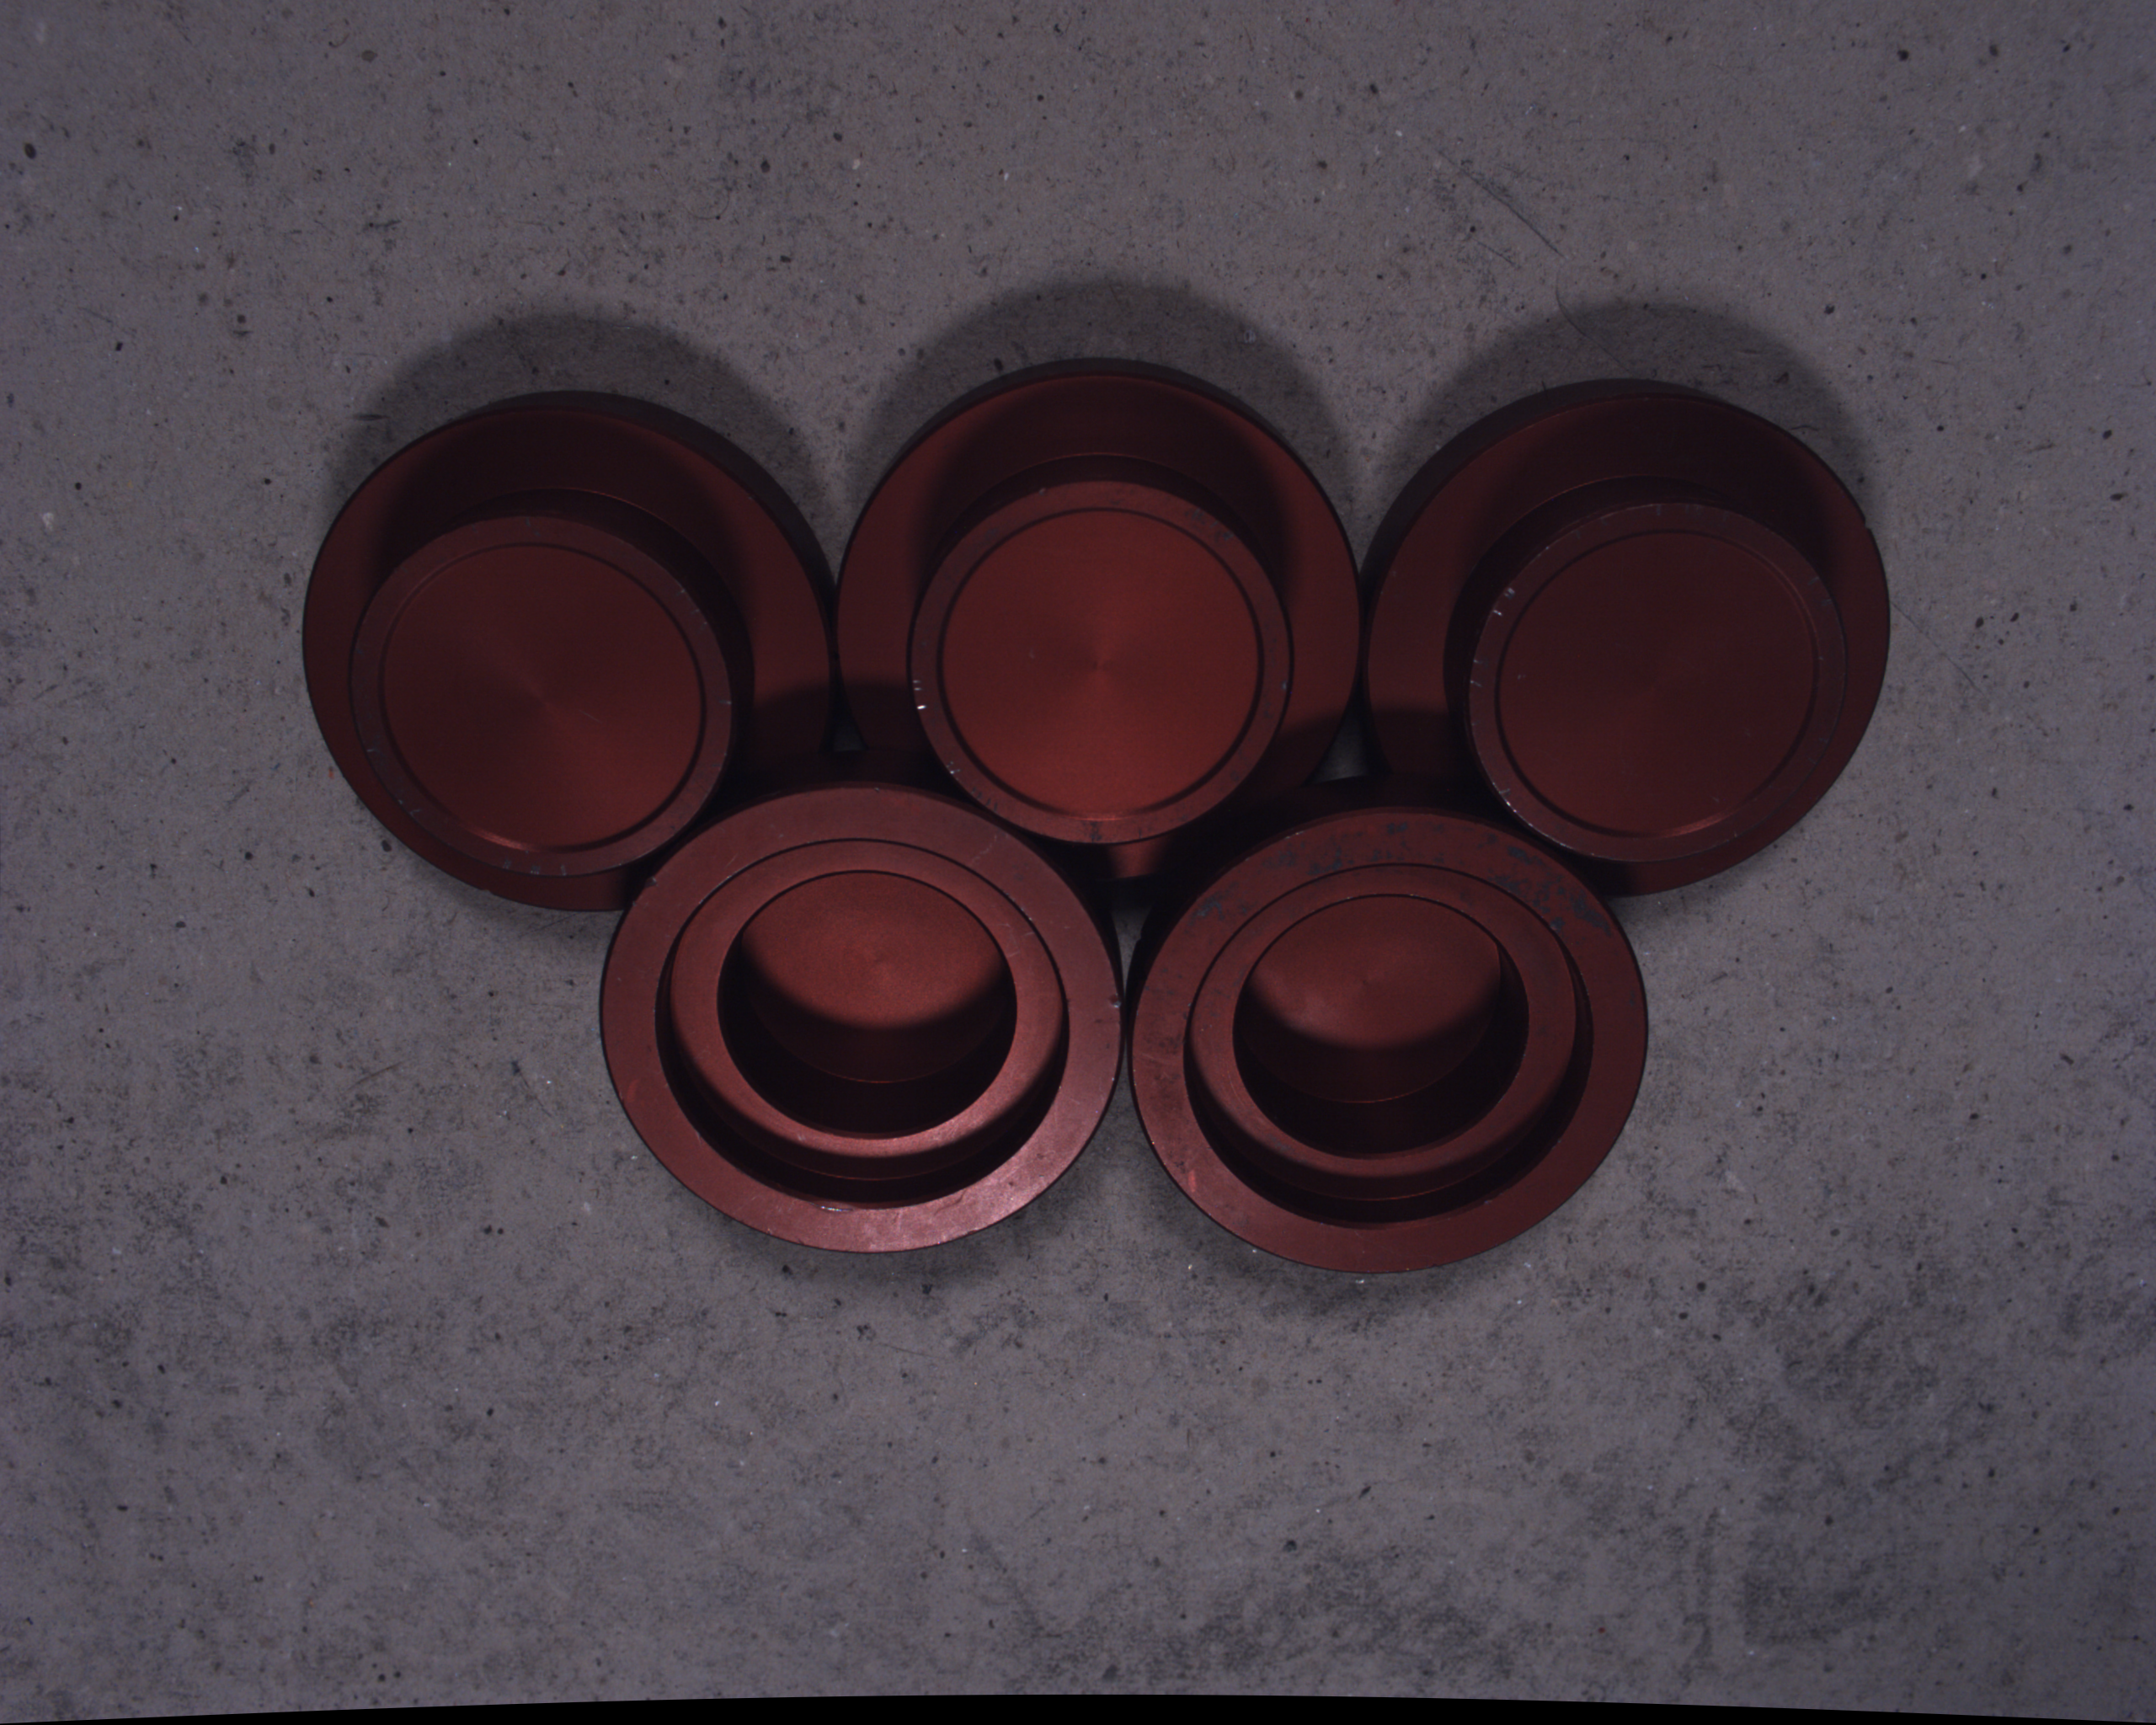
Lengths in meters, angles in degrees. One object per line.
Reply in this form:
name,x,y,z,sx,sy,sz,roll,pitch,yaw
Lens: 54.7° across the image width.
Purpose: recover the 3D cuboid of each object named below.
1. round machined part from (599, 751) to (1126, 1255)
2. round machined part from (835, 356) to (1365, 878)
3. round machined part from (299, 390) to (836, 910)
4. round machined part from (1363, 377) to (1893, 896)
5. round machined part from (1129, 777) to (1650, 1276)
round machined part,-0.040,0.024,0.410,0.099,0.042,0.097,0,110,-1
round machined part,0.004,-0.042,0.387,0.099,0.042,0.097,0,110,-1
round machined part,-0.095,-0.036,0.387,0.099,0.042,0.097,0,110,-1
round machined part,0.103,-0.039,0.389,0.099,0.042,0.097,0,110,-1
round machined part,0.059,0.029,0.413,0.099,0.042,0.097,0,110,-1
